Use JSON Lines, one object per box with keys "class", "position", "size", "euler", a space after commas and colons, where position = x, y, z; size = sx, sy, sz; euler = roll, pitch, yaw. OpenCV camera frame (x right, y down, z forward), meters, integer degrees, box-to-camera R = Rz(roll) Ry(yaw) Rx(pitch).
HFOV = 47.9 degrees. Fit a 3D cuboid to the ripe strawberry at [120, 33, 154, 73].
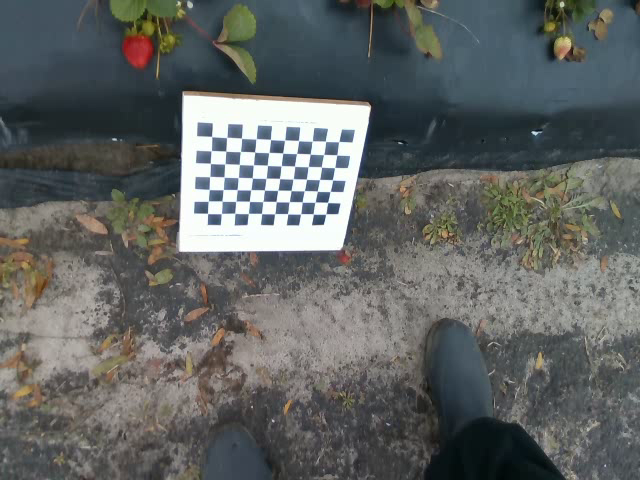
{"class": "ripe strawberry", "position": [-0.079, -0.080, 0.308], "size": [0.018, 0.017, 0.014], "euler": [0, -12, -23]}
